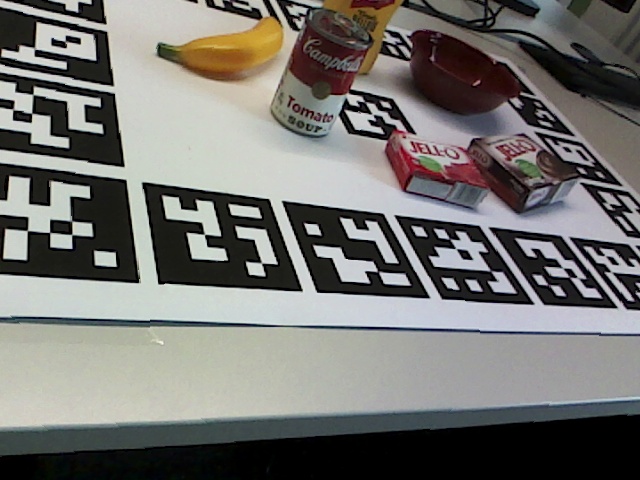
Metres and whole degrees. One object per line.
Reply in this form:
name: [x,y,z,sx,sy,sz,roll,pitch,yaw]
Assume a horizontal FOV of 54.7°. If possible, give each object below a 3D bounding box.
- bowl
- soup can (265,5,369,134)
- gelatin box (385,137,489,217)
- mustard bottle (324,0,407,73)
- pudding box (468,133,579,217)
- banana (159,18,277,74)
bowl: [0.183,-0.211,0.835,0.161,0.055,0.162,16,37,-13]
soup can: [-0.005,-0.163,0.596,0.067,0.102,0.068,19,34,-14]
gelatin box: [0.118,-0.065,0.629,0.089,0.030,0.073,9,42,-22]
mustard bottle: [0.060,-0.294,0.720,0.095,0.191,0.059,5,39,-28]
pudding box: [0.231,-0.077,0.708,0.113,0.039,0.090,-17,60,-44]
banana: [-0.090,-0.214,0.676,0.074,0.039,0.197,23,34,12]
